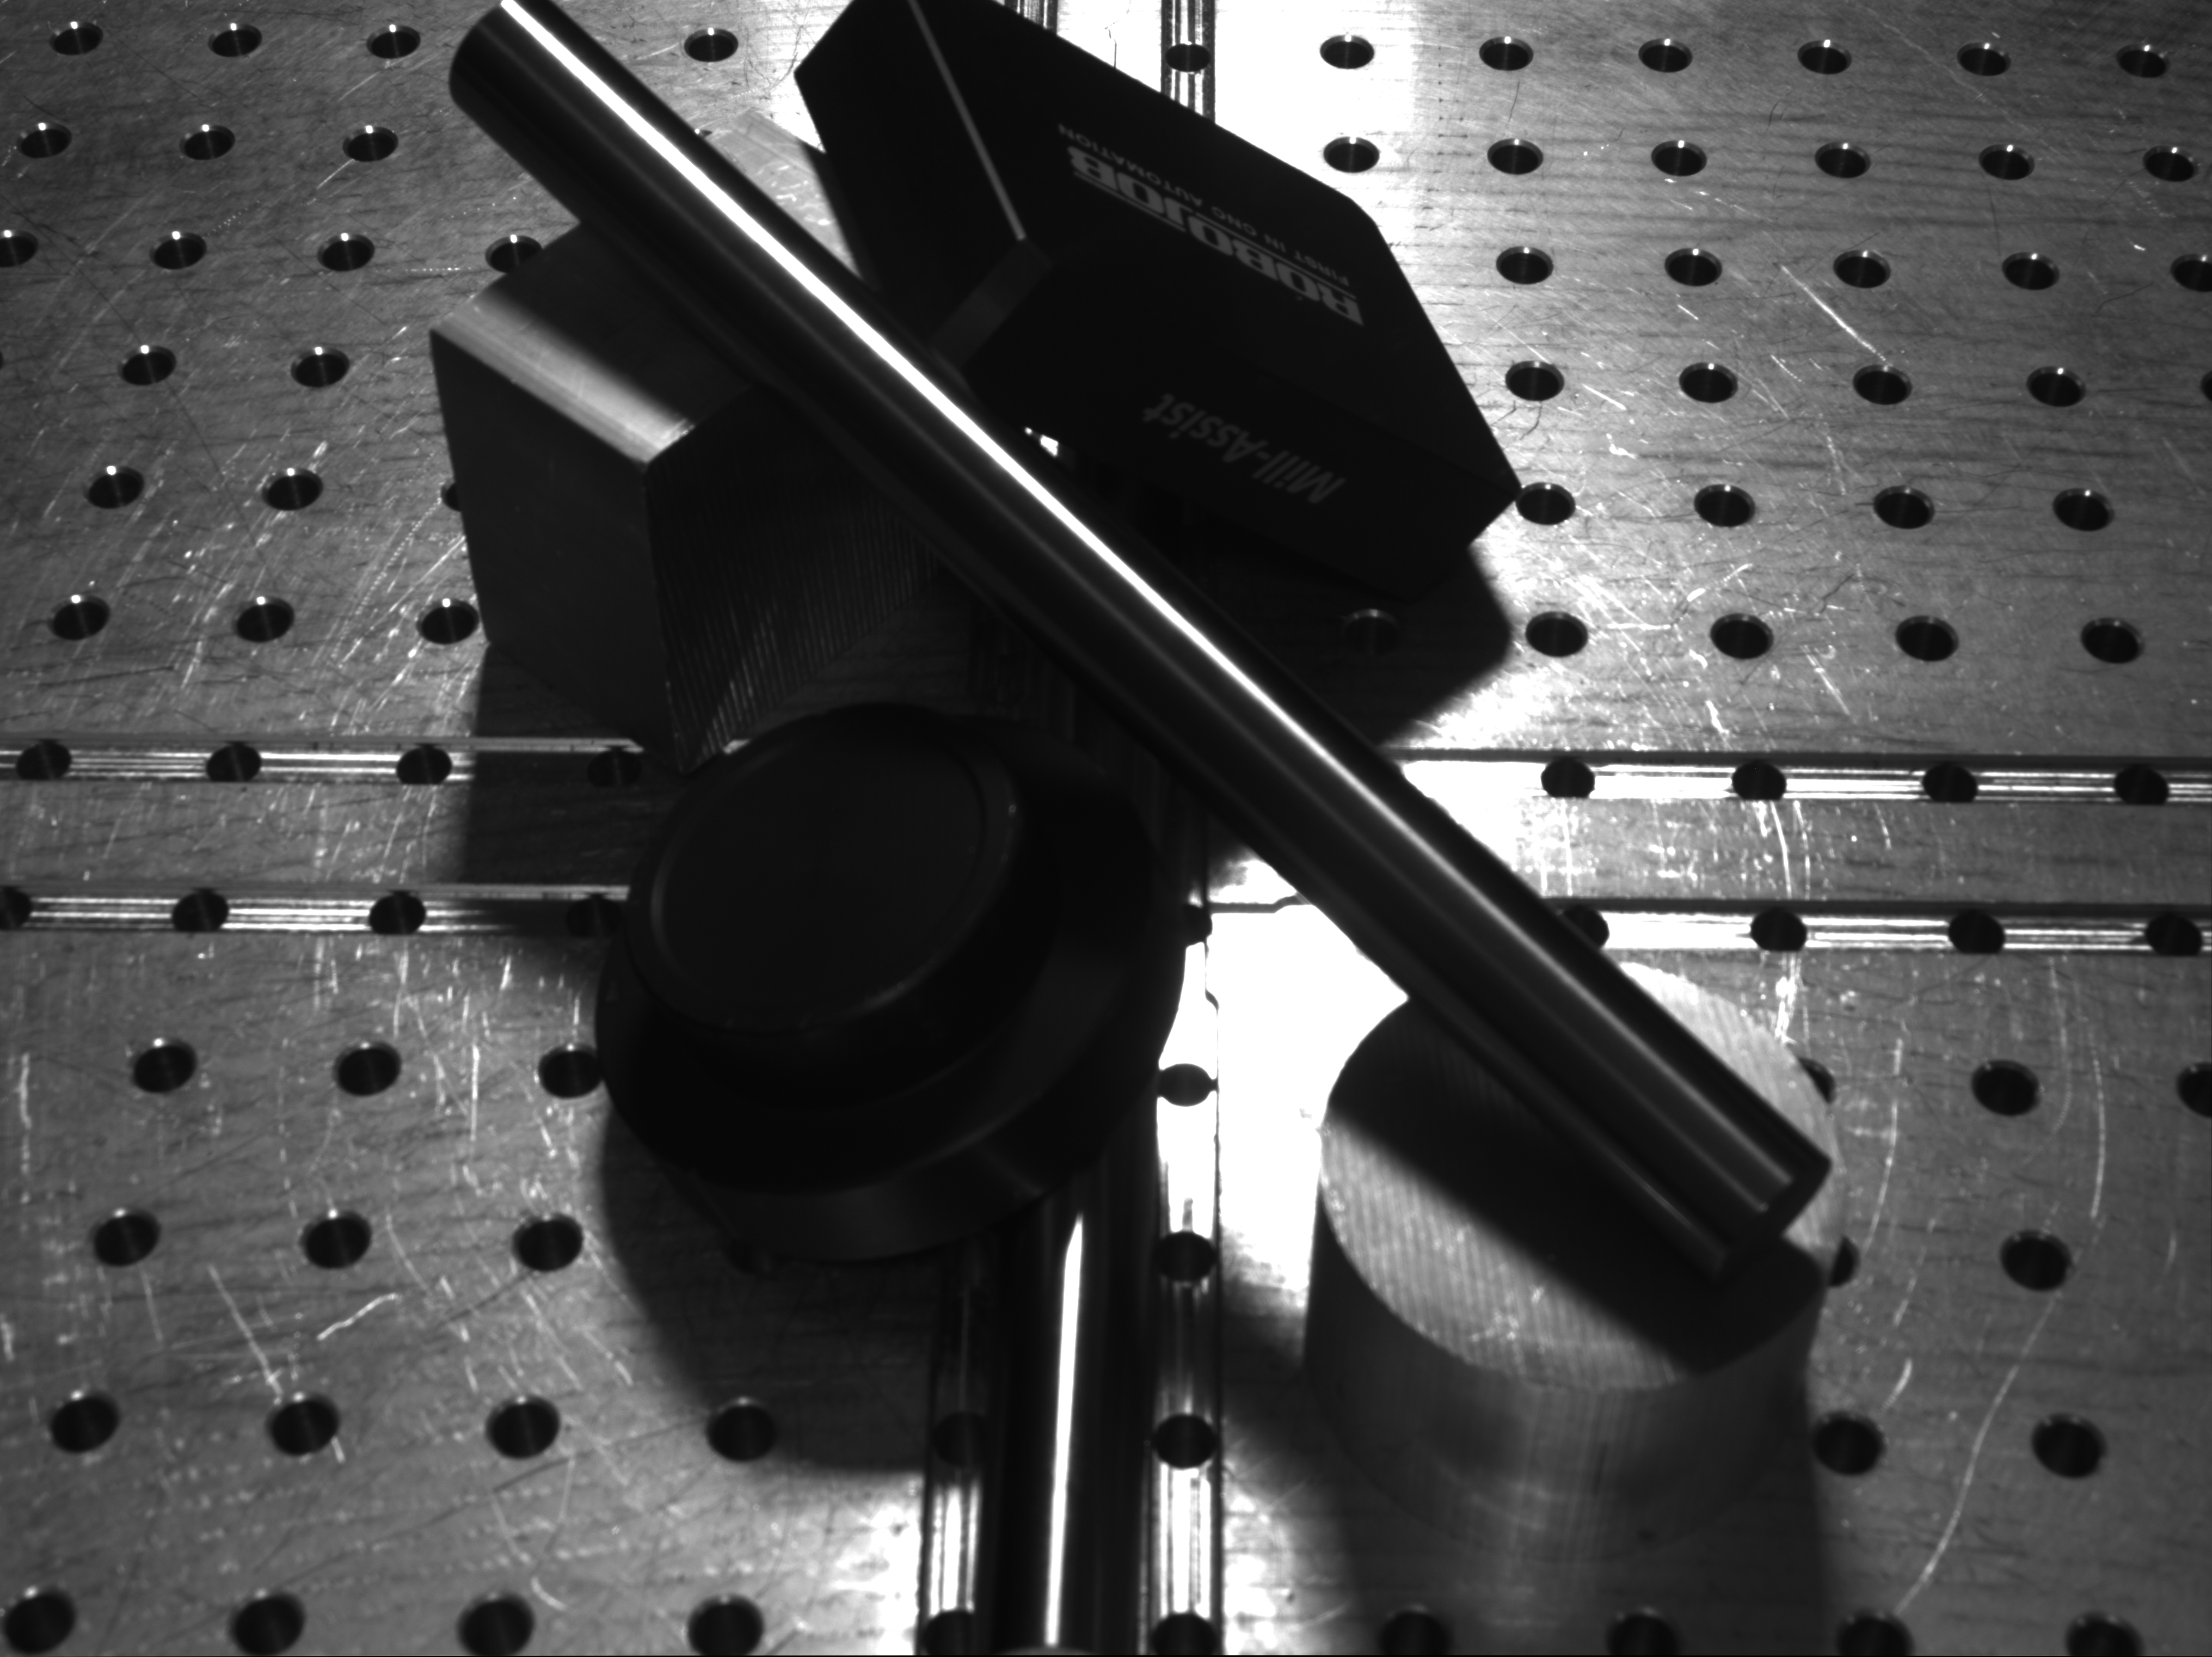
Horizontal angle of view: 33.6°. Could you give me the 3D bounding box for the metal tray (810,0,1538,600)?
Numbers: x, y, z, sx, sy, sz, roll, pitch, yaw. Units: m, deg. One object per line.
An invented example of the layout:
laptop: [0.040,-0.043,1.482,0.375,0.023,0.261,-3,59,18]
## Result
metal tray: [0.014,-0.100,0.675,0.130,0.030,0.090,20,35,-41]

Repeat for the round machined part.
round machined part: [-0.036,0.018,0.598,0.098,0.042,0.098,-11,48,13]

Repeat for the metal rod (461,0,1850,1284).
metal rod: [-0.002,-0.039,0.586,0.025,0.025,0.299,-35,66,-26]

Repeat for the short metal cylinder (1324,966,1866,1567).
short metal cylinder: [0.075,0.067,0.573,0.080,0.050,0.080,0,50,0]

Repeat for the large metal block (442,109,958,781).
large metal block: [-0.069,-0.070,0.669,0.050,0.080,0.080,34,58,25]

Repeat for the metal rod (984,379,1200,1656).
metal rod: [0.001,0.012,0.635,0.025,0.025,0.300,2,50,2]
